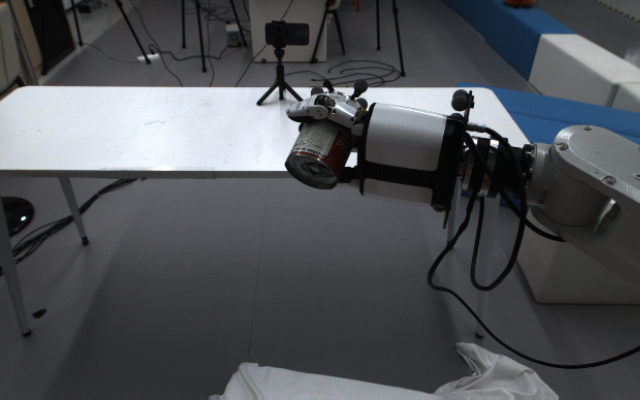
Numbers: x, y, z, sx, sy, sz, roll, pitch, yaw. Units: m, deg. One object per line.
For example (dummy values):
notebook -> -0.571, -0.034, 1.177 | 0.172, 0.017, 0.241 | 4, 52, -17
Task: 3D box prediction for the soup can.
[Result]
soup can -> 0.009, -0.074, 0.589 | 0.067, 0.067, 0.101 | 15, 63, 18
